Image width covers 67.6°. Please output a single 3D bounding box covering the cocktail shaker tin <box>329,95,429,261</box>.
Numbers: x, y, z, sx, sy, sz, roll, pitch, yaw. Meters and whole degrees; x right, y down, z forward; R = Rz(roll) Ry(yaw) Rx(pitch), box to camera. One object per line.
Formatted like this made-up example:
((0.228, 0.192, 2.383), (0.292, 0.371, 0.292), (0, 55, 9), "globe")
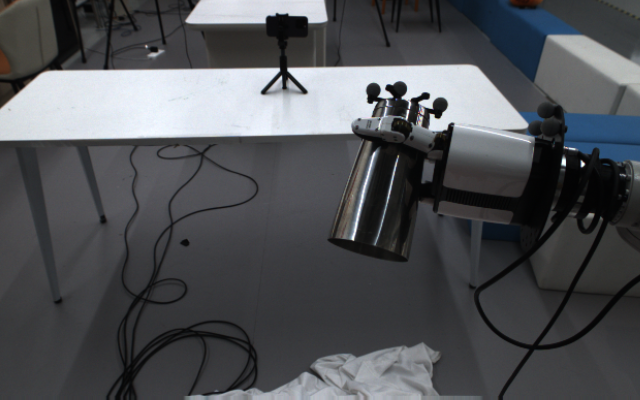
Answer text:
((0.077, -0.027, 0.549), (0.093, 0.093, 0.170), (13, 76, 15), "cocktail shaker tin")
